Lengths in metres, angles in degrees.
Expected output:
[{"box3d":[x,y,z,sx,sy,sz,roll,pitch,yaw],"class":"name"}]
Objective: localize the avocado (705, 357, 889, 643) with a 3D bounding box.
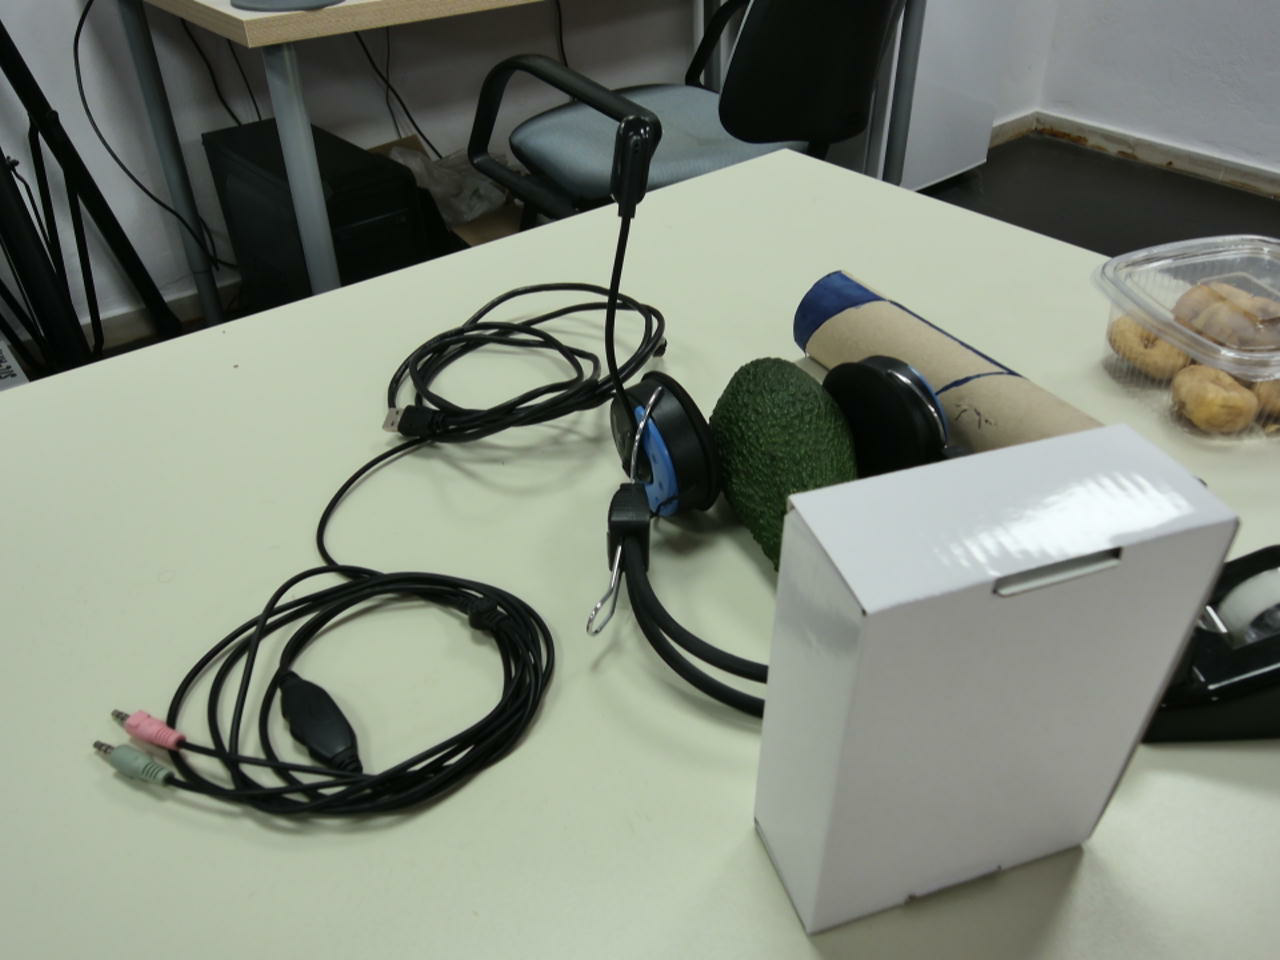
[{"box3d":[0.071,-0.001,0.415,0.063,0.067,0.141,-14,37,-18],"class":"avocado"}]
